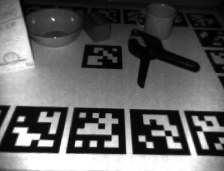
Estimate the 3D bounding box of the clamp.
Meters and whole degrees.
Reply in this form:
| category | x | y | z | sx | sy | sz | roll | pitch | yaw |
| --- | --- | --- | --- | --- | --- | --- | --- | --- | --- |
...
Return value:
| category | x | y | z | sx | sy | sz | roll | pitch | yaw |
| --- | --- | --- | --- | --- | --- | --- | --- | --- | --- |
| clamp | 0.086 | -0.094 | 0.559 | 0.166 | 0.037 | 0.200 | -18 | 53 | -17 |

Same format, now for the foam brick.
| category | x | y | z | sx | sy | sz | roll | pitch | yaw |
| --- | --- | --- | --- | --- | --- | --- | --- | --- | --- |
| foam brick | -0.051 | -0.170 | 0.622 | 0.053 | 0.051 | 0.077 | -21 | 54 | -19 |

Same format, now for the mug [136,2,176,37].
| category | x | y | z | sx | sy | sz | roll | pitch | yaw |
| --- | --- | --- | --- | --- | --- | --- | --- | --- | --- |
| mug | 0.119 | -0.201 | 0.632 | 0.116 | 0.082 | 0.093 | 23 | 50 | 12 |

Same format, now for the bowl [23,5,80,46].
| category | x | y | z | sx | sy | sz | roll | pitch | yaw |
| --- | --- | --- | --- | --- | --- | --- | --- | --- | --- |
| bowl | -0.168 | -0.158 | 0.591 | 0.162 | 0.055 | 0.161 | 3 | 48 | -3 |

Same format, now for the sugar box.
| category | x | y | z | sx | sy | sz | roll | pitch | yaw |
| --- | --- | --- | --- | --- | --- | --- | --- | --- | --- |
| sugar box | -0.239 | -0.101 | 0.454 | 0.093 | 0.177 | 0.045 | -18 | 53 | -20 |
